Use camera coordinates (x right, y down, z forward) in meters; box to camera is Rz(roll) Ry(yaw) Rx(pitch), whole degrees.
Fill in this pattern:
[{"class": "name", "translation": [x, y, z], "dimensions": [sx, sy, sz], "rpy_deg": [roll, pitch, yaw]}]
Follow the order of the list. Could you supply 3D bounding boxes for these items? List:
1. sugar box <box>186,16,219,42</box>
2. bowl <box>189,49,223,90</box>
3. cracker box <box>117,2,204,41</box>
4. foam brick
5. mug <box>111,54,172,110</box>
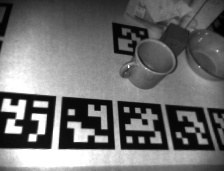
[{"class": "sugar box", "translation": [0.224, -0.193, 0.541], "dimensions": [0.093, 0.176, 0.045], "rpy_deg": [22, 58, -3]}, {"class": "bowl", "translation": [0.246, -0.039, 0.523], "dimensions": [0.163, 0.055, 0.161], "rpy_deg": [8, 61, -14]}, {"class": "cracker box", "translation": [0.122, -0.197, 0.489], "dimensions": [0.164, 0.213, 0.072], "rpy_deg": [29, 55, 0]}, {"class": "foam brick", "translation": [0.125, -0.073, 0.507], "dimensions": [0.053, 0.078, 0.051], "rpy_deg": [17, 57, -6]}, {"class": "mug", "translation": [0.054, -0.002, 0.432], "dimensions": [0.118, 0.081, 0.092], "rpy_deg": [-5, 55, -18]}]
